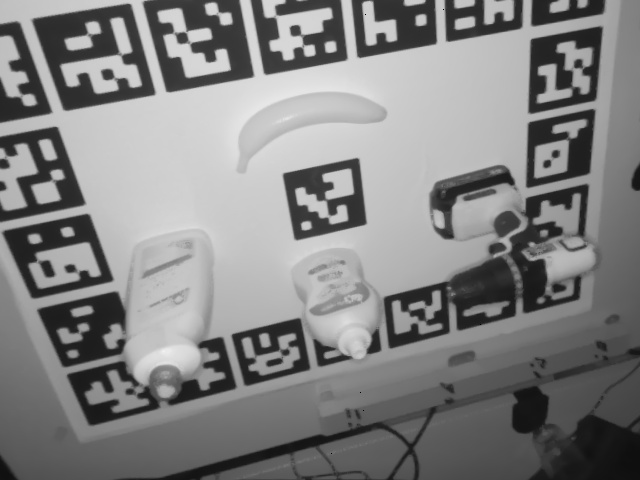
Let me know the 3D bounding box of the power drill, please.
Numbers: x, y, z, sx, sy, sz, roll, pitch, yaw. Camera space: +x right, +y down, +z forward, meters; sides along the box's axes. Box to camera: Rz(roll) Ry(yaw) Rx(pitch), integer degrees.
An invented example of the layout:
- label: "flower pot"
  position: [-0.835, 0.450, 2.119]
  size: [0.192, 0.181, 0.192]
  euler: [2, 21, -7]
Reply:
- label: "power drill"
  position: [0.223, 0.024, 0.827]
  size: [0.185, 0.187, 0.057]
  euler: [-18, 120, -7]

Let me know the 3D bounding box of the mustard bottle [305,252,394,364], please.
- label: "mustard bottle"
  position: [0.040, 0.087, 0.854]
  size: [0.096, 0.192, 0.058]
  euler: [-17, 120, 0]

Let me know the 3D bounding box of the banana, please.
- label: "banana"
  position: [0.003, -0.128, 0.809]
  size: [0.198, 0.039, 0.074]
  euler: [-17, 118, -7]

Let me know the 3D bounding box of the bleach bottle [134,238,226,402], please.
- label: "bleach bottle"
  position: [-0.150, 0.085, 0.773]
  size: [0.103, 0.251, 0.067]
  euler: [-4, 118, -9]
